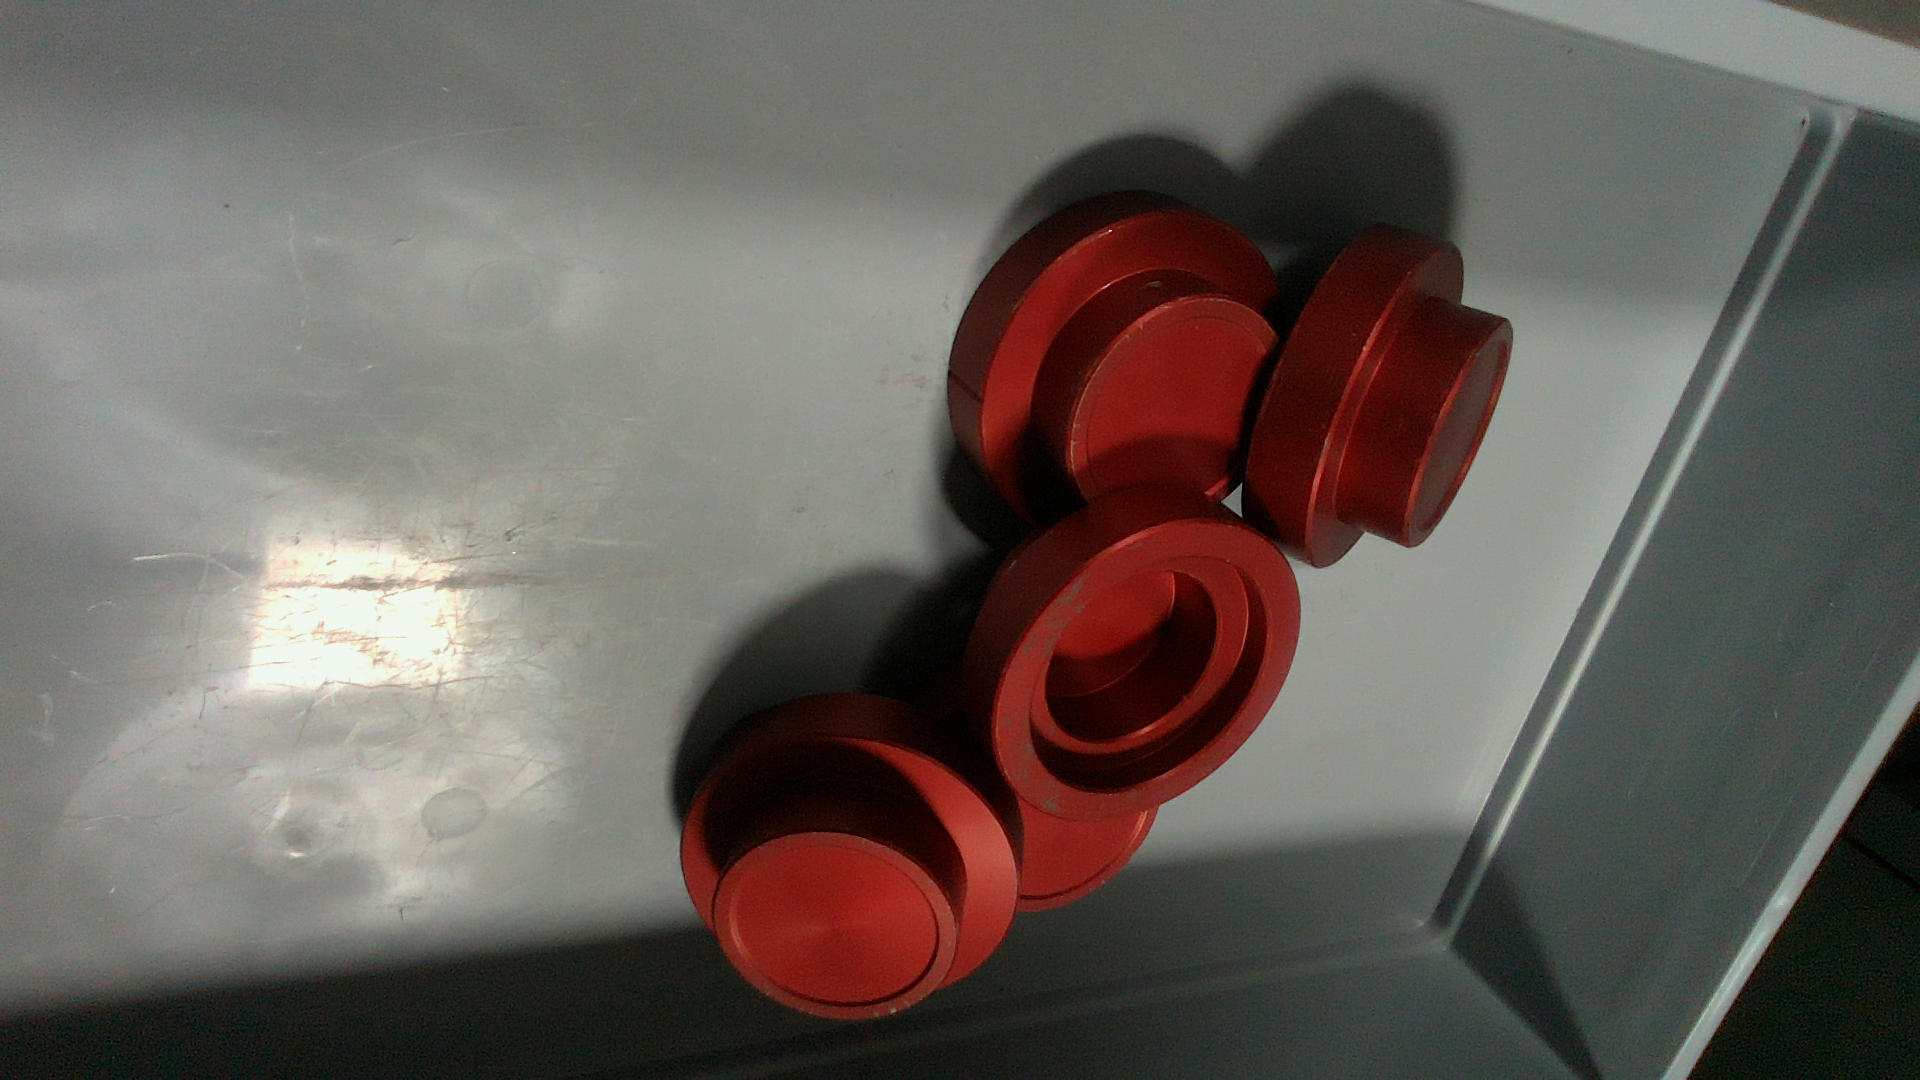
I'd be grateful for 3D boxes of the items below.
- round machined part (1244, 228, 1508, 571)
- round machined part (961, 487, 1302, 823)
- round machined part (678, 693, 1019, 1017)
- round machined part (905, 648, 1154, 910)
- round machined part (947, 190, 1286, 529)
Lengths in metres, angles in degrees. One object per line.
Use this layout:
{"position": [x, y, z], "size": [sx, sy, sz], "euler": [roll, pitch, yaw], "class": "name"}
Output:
{"position": [0.123, -0.036, 0.394], "size": [0.098, 0.042, 0.098], "euler": [-42, 145, -39], "class": "round machined part"}
{"position": [0.044, 0.028, 0.390], "size": [0.098, 0.042, 0.098], "euler": [-14, 124, -21], "class": "round machined part"}
{"position": [-0.032, 0.096, 0.391], "size": [0.098, 0.042, 0.098], "euler": [2, 118, 4], "class": "round machined part"}
{"position": [0.024, 0.078, 0.437], "size": [0.098, 0.042, 0.098], "euler": [-14, 124, -21], "class": "round machined part"}
{"position": [0.049, -0.042, 0.377], "size": [0.098, 0.042, 0.098], "euler": [-14, 124, -21], "class": "round machined part"}
